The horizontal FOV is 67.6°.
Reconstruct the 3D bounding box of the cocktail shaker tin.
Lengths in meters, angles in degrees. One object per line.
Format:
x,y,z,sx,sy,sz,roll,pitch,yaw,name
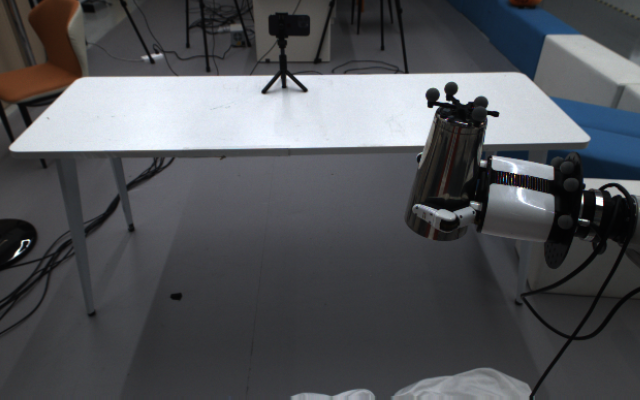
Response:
0.176,-0.039,0.664,0.093,0.170,0.093,3,34,-2,cocktail shaker tin
